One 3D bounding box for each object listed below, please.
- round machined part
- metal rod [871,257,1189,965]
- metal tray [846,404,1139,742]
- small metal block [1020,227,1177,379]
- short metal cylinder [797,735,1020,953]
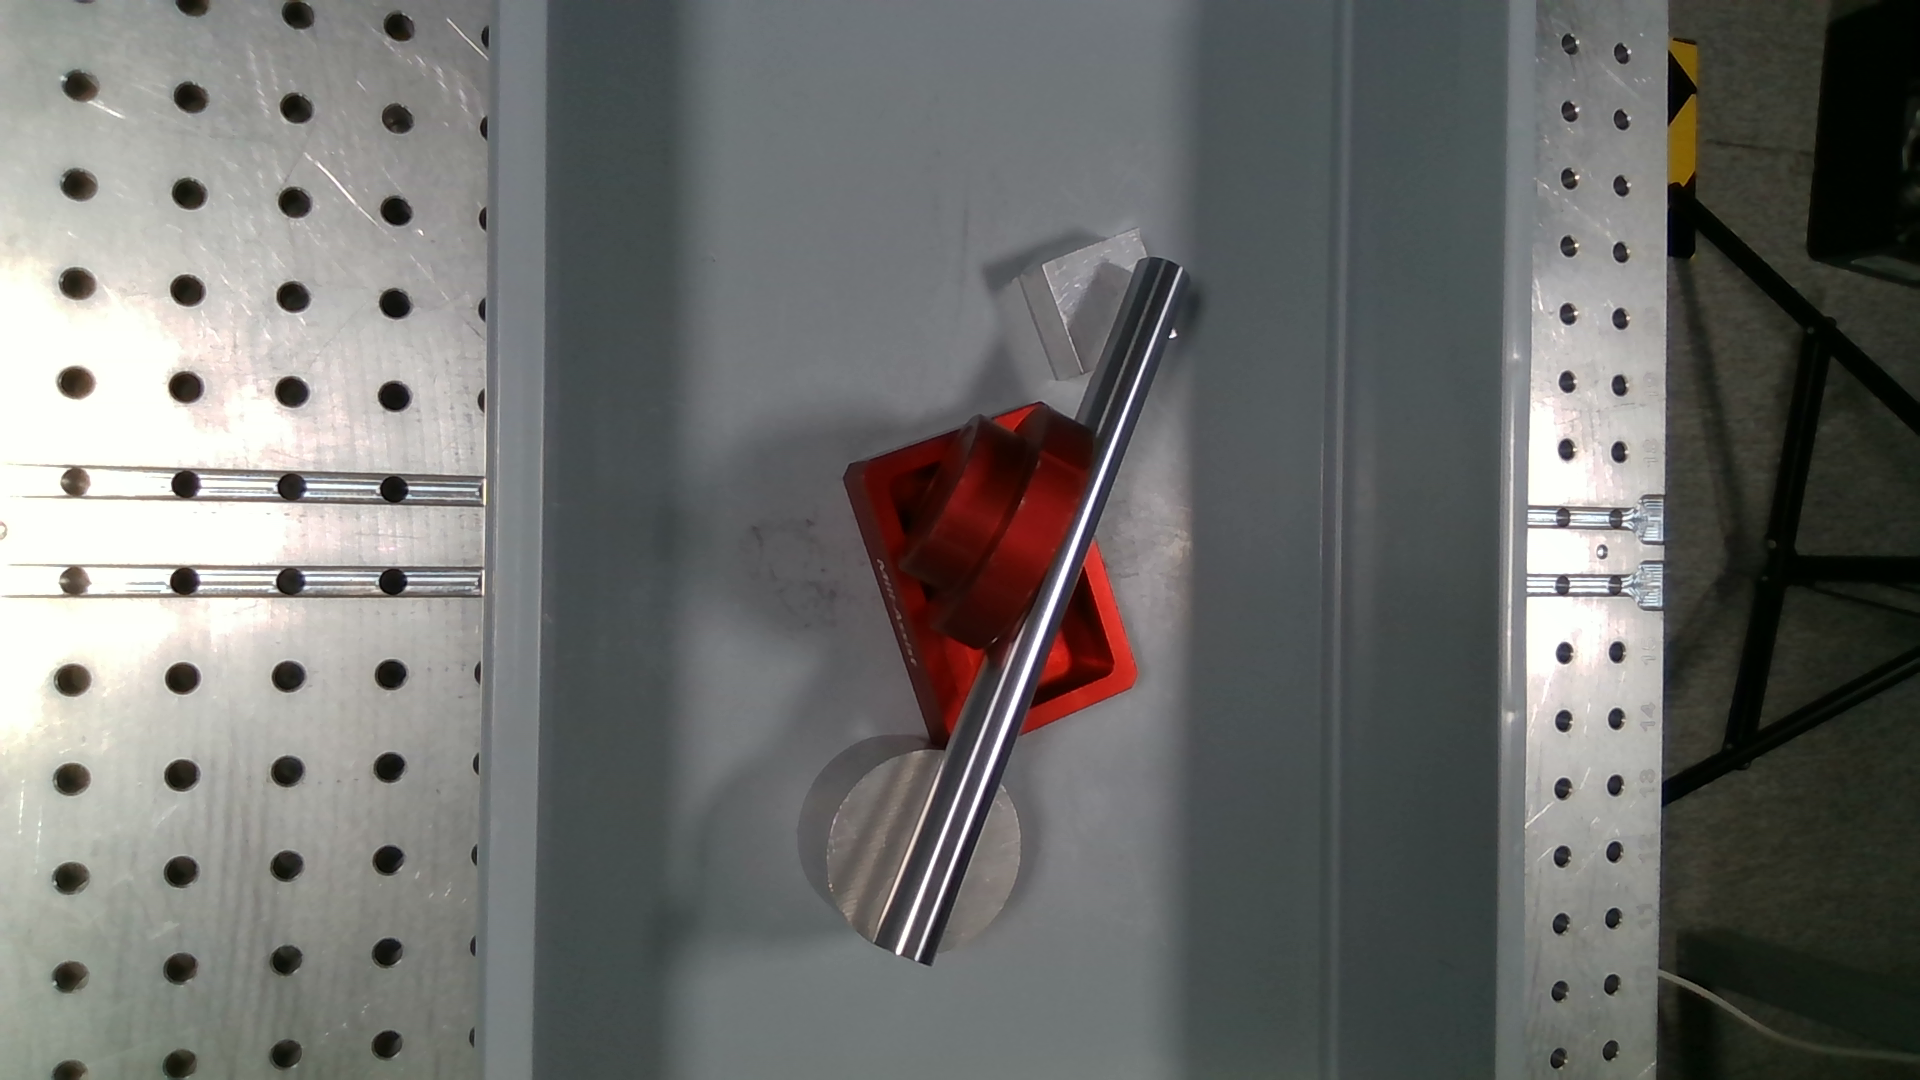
[{"bbox_3d":[0.010,-0.010,0.535,0.042,0.098,0.098,28,81,-10],"label":"round machined part"},{"bbox_3d":[0.033,0.020,0.553,0.025,0.025,0.299,27,75,-18],"label":"metal rod"},{"bbox_3d":[0.014,0.016,0.587,0.090,0.030,0.130,-21,97,-19],"label":"metal tray"},{"bbox_3d":[0.061,-0.104,0.607,0.050,0.025,0.050,-24,98,-19],"label":"small metal block"},{"bbox_3d":[-0.022,0.123,0.564,0.080,0.050,0.080,0,90,-20],"label":"short metal cylinder"}]
